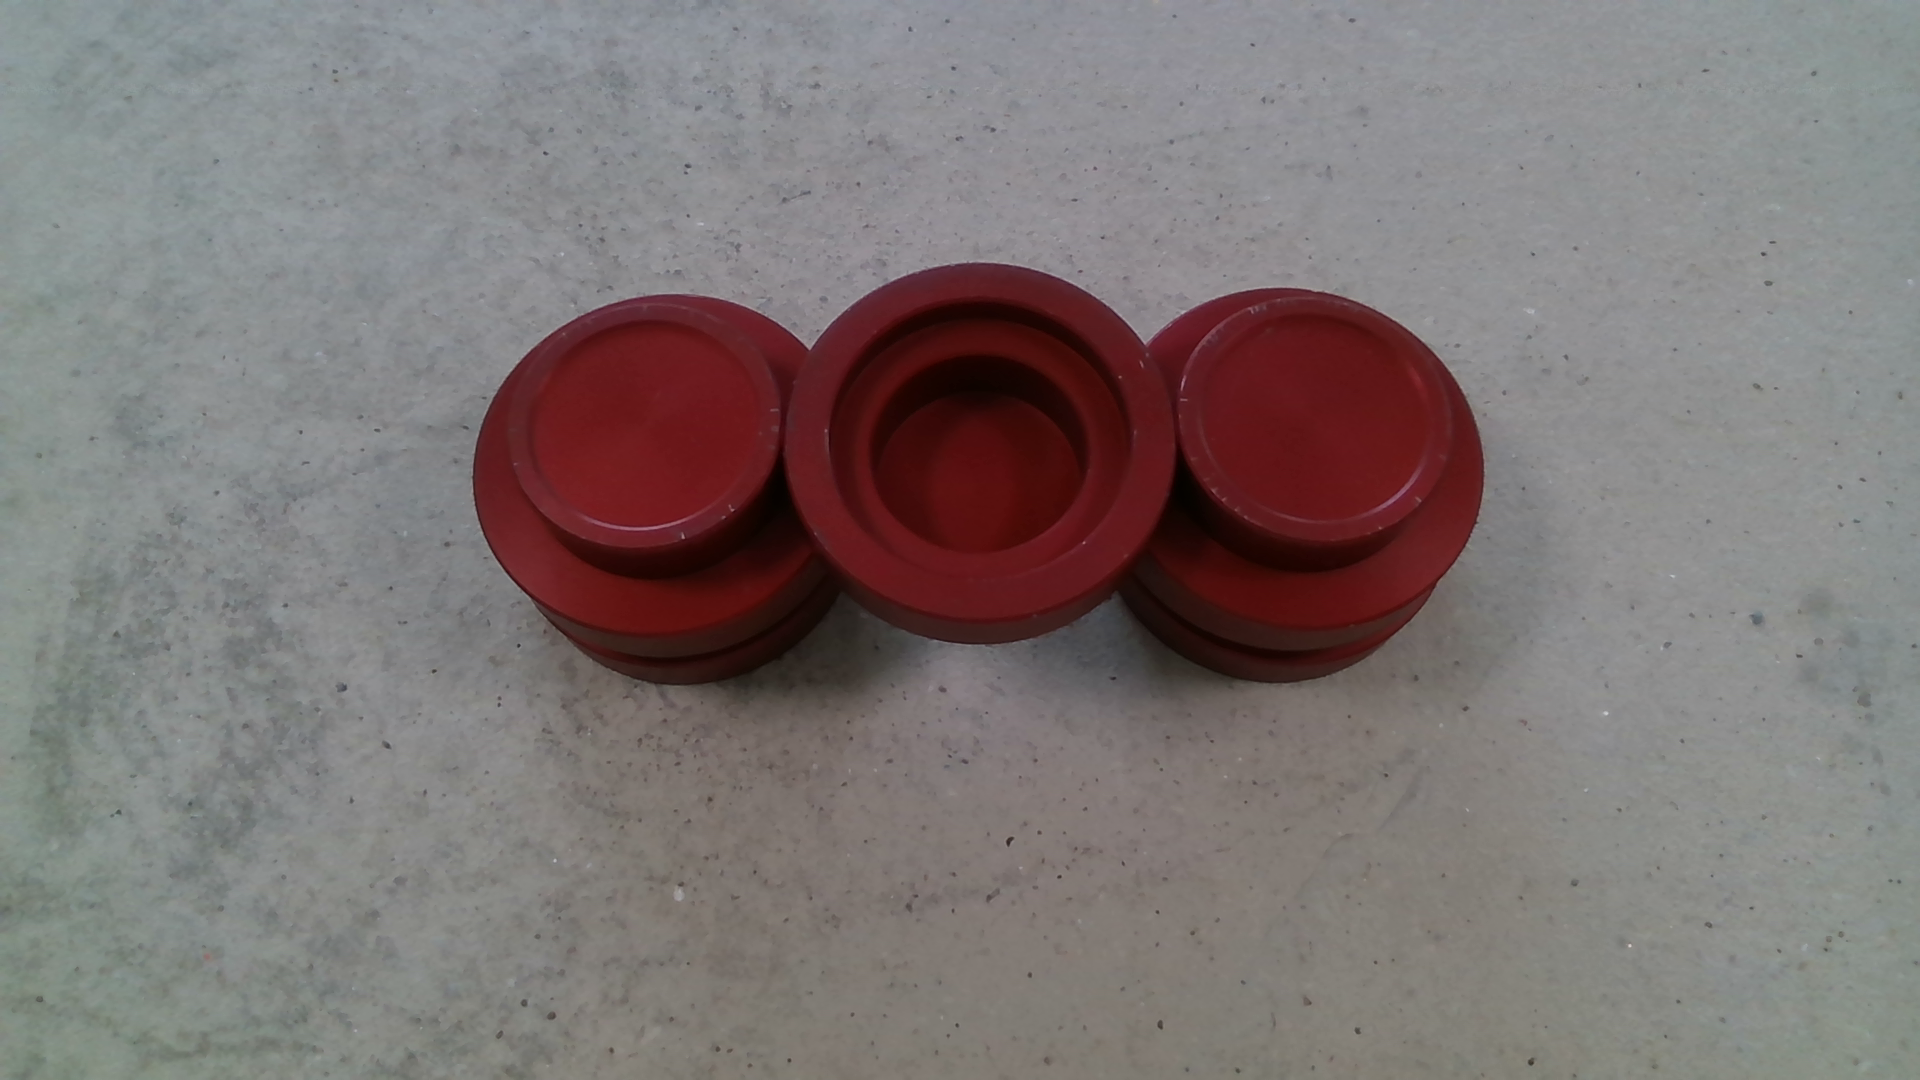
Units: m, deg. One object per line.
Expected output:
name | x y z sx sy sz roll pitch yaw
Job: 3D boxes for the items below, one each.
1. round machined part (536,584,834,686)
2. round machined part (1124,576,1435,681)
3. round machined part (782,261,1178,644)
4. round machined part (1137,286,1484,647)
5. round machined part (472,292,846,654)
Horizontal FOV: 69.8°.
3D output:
round machined part | -0.081 -0.011 0.392 0.098 0.042 0.098 0 69 -1
round machined part | 0.091 -0.013 0.391 0.098 0.042 0.098 0 69 0
round machined part | 0.005 -0.020 0.360 0.098 0.042 0.098 0 70 0
round machined part | 0.088 -0.025 0.361 0.098 0.042 0.098 0 69 0
round machined part | -0.078 -0.023 0.359 0.098 0.042 0.098 0 69 0
